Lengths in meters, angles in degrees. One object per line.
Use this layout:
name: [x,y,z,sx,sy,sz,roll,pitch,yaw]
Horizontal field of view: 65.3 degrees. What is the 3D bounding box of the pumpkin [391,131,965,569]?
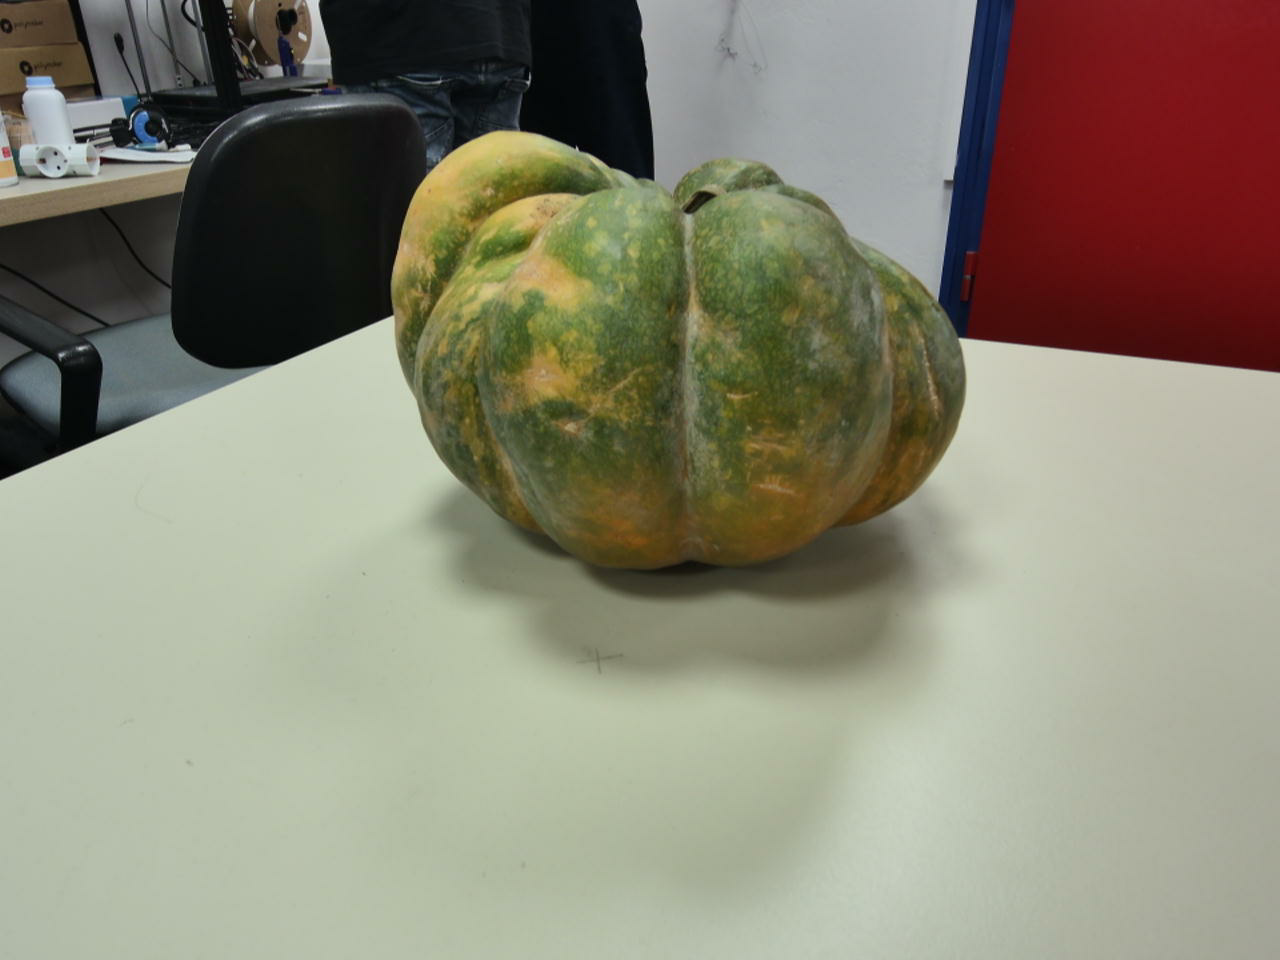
pumpkin: [0.014,-0.065,0.454,0.237,0.173,0.270,-12,26,-25]
